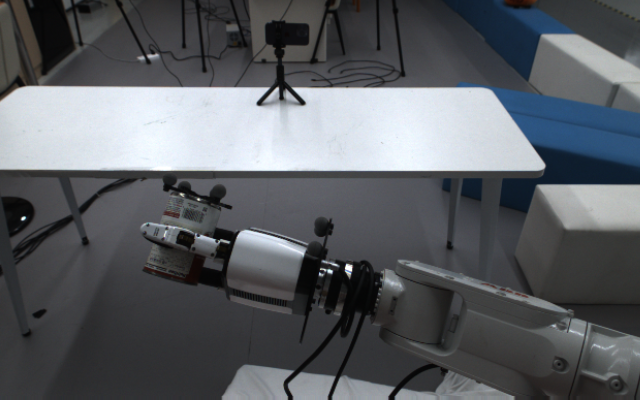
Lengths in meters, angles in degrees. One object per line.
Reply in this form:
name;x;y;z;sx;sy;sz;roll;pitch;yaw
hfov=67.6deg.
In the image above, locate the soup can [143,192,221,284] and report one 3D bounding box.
soup can;-0.168;0.050;0.600;0.067;0.067;0.101;13;78;15
